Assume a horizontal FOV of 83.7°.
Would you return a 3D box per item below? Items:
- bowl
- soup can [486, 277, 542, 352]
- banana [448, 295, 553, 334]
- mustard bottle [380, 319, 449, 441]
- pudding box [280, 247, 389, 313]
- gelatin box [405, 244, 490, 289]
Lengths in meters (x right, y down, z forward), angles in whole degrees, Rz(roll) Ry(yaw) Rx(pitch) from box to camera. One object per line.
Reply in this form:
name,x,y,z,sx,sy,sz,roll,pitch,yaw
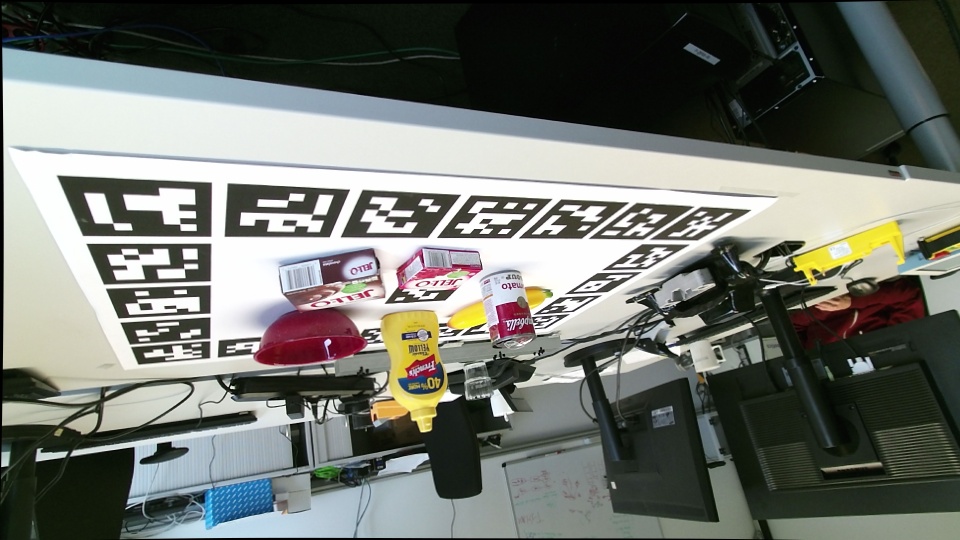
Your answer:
bowl,-0.260,0.098,0.796,0.162,0.055,0.162,-12,161,-4
soup can,0.049,0.070,0.809,0.068,0.101,0.068,-9,160,-3
banana,0.028,0.078,0.933,0.198,0.038,0.074,-19,169,15
mustard bottle,-0.101,0.177,0.864,0.096,0.190,0.058,-1,159,-29
pudding box,-0.172,0.016,0.650,0.114,0.038,0.090,-10,154,-7
gelatin box,-0.041,-0.002,0.695,0.090,0.030,0.073,2,152,-36
